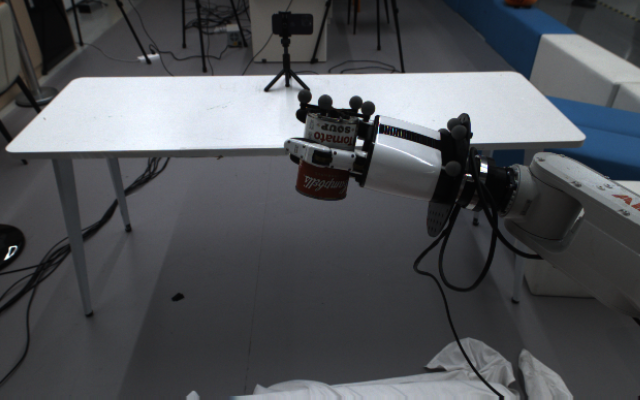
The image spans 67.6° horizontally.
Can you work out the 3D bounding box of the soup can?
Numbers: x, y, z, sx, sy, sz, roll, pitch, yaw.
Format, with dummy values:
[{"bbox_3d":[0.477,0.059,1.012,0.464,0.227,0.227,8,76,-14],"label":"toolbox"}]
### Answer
[{"bbox_3d":[0.010,-0.058,0.612,0.067,0.101,0.067,8,19,-3],"label":"soup can"}]
